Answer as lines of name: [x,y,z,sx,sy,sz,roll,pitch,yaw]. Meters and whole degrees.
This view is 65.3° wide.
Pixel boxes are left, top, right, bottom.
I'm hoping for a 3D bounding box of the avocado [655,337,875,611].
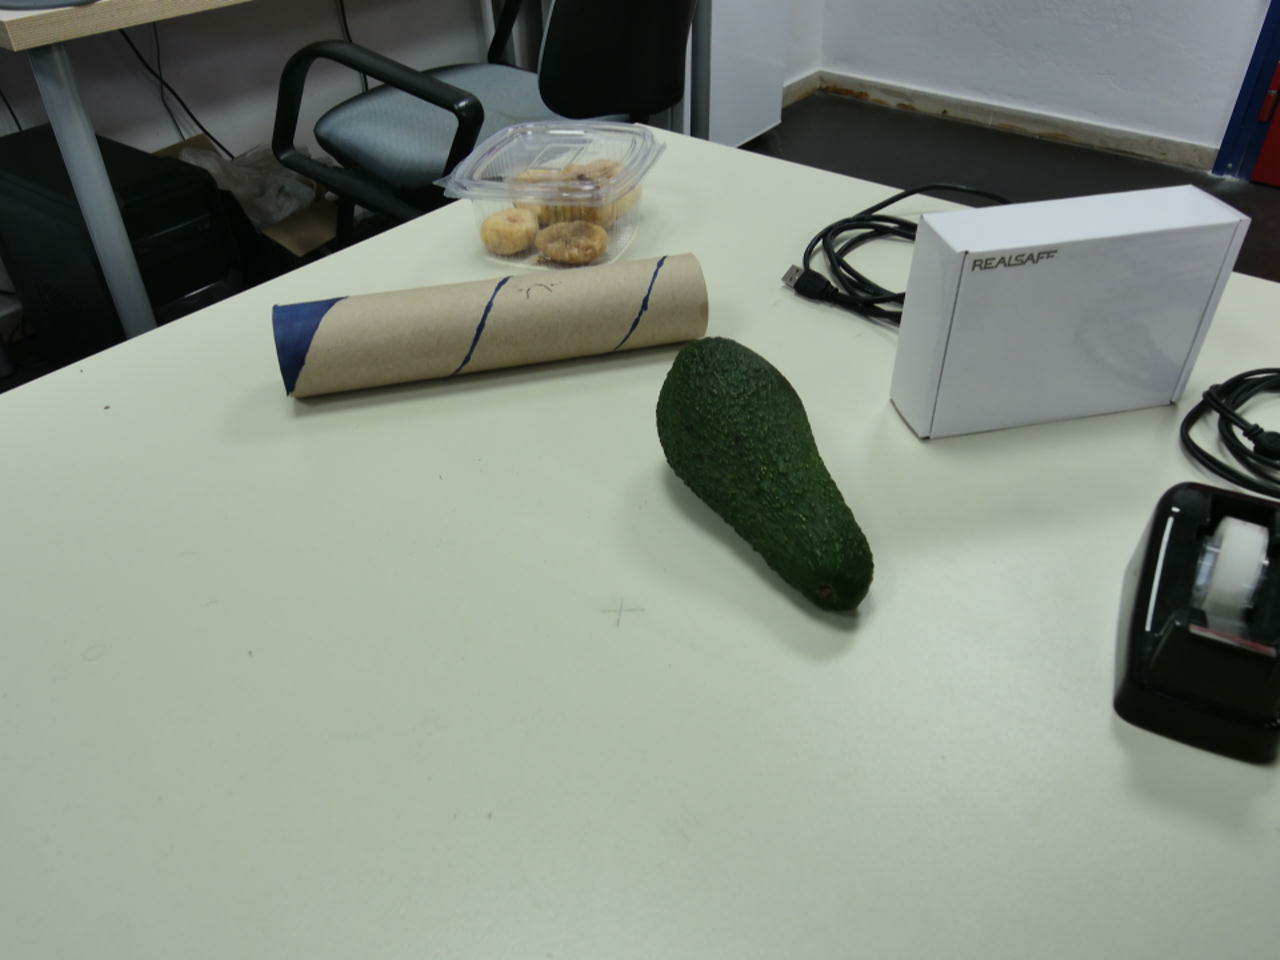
avocado: [0.056,-0.011,0.419,0.063,0.067,0.141,-23,41,-27]
